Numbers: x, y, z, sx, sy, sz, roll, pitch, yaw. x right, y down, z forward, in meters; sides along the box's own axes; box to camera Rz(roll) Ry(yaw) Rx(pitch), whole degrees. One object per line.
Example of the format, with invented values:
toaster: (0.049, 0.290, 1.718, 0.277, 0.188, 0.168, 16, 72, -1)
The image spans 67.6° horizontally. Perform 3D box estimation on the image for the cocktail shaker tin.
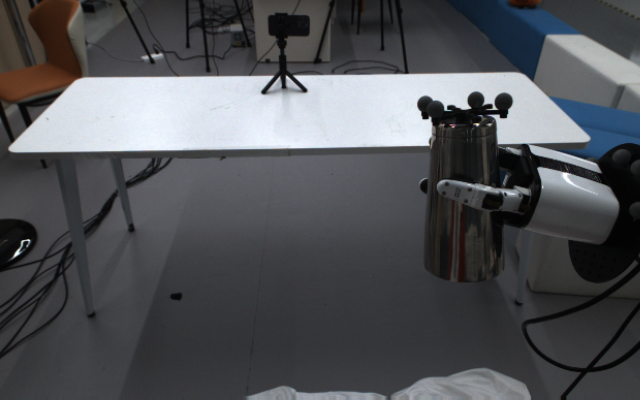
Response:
cocktail shaker tin: (0.162, -0.005, 0.544, 0.093, 0.170, 0.093, -6, 19, 2)
